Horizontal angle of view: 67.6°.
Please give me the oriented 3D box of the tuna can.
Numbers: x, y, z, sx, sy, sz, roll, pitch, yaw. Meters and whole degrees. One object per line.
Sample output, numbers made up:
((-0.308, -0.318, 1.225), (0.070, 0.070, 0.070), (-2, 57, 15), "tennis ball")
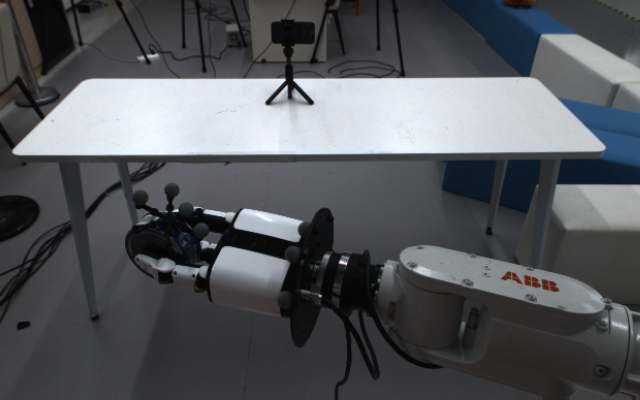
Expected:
((-0.187, 0.064, 0.583), (0.085, 0.085, 0.034), (12, 35, 14), "tuna can")
